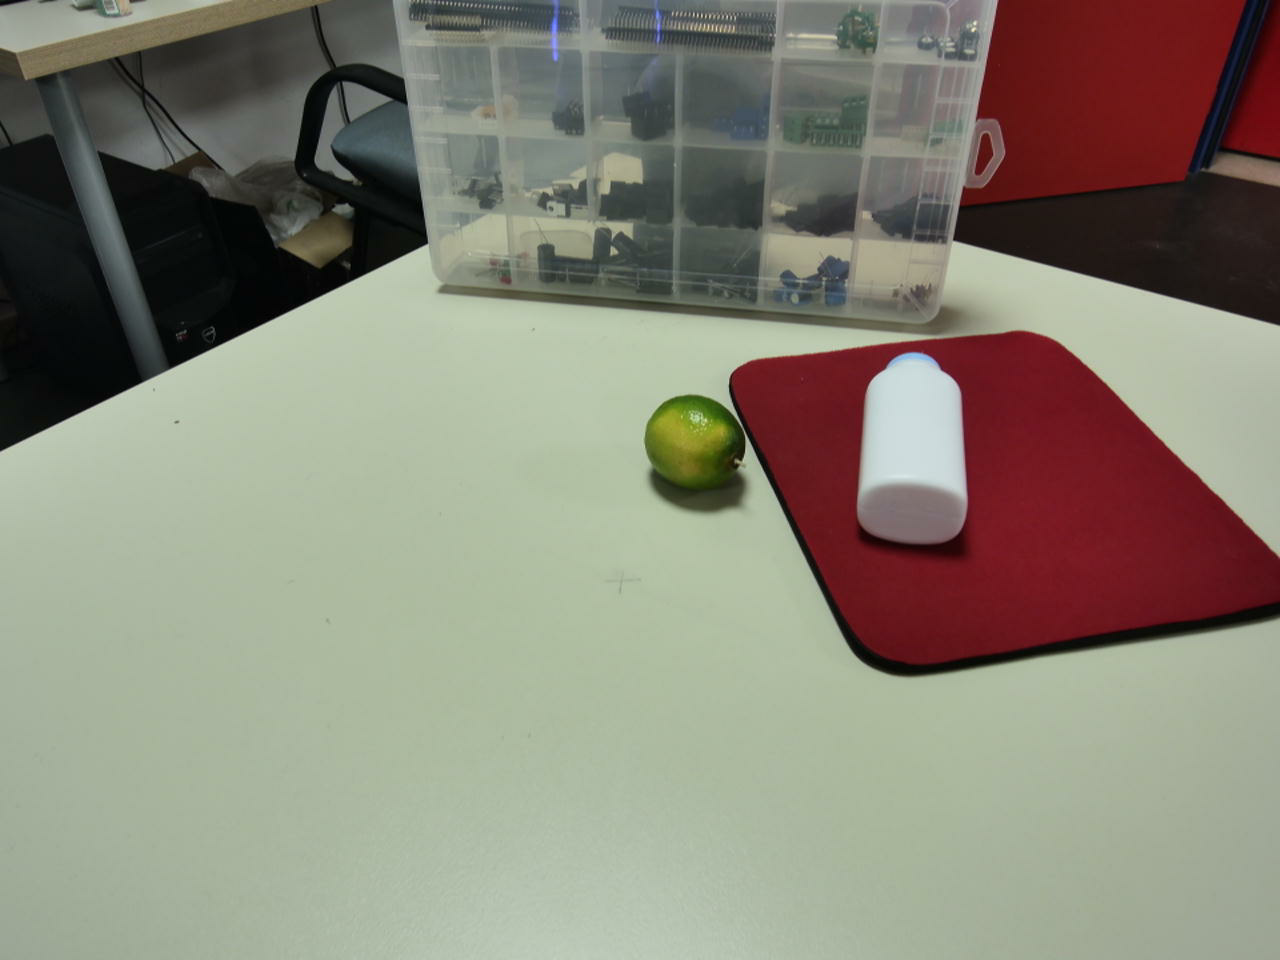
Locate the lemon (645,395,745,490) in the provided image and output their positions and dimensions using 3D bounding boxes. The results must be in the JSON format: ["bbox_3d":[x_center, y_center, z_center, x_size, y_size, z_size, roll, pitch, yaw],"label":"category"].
[{"bbox_3d":[0.030,-0.021,0.548,0.054,0.050,0.055,0,37,-2],"label":"lemon"}]
